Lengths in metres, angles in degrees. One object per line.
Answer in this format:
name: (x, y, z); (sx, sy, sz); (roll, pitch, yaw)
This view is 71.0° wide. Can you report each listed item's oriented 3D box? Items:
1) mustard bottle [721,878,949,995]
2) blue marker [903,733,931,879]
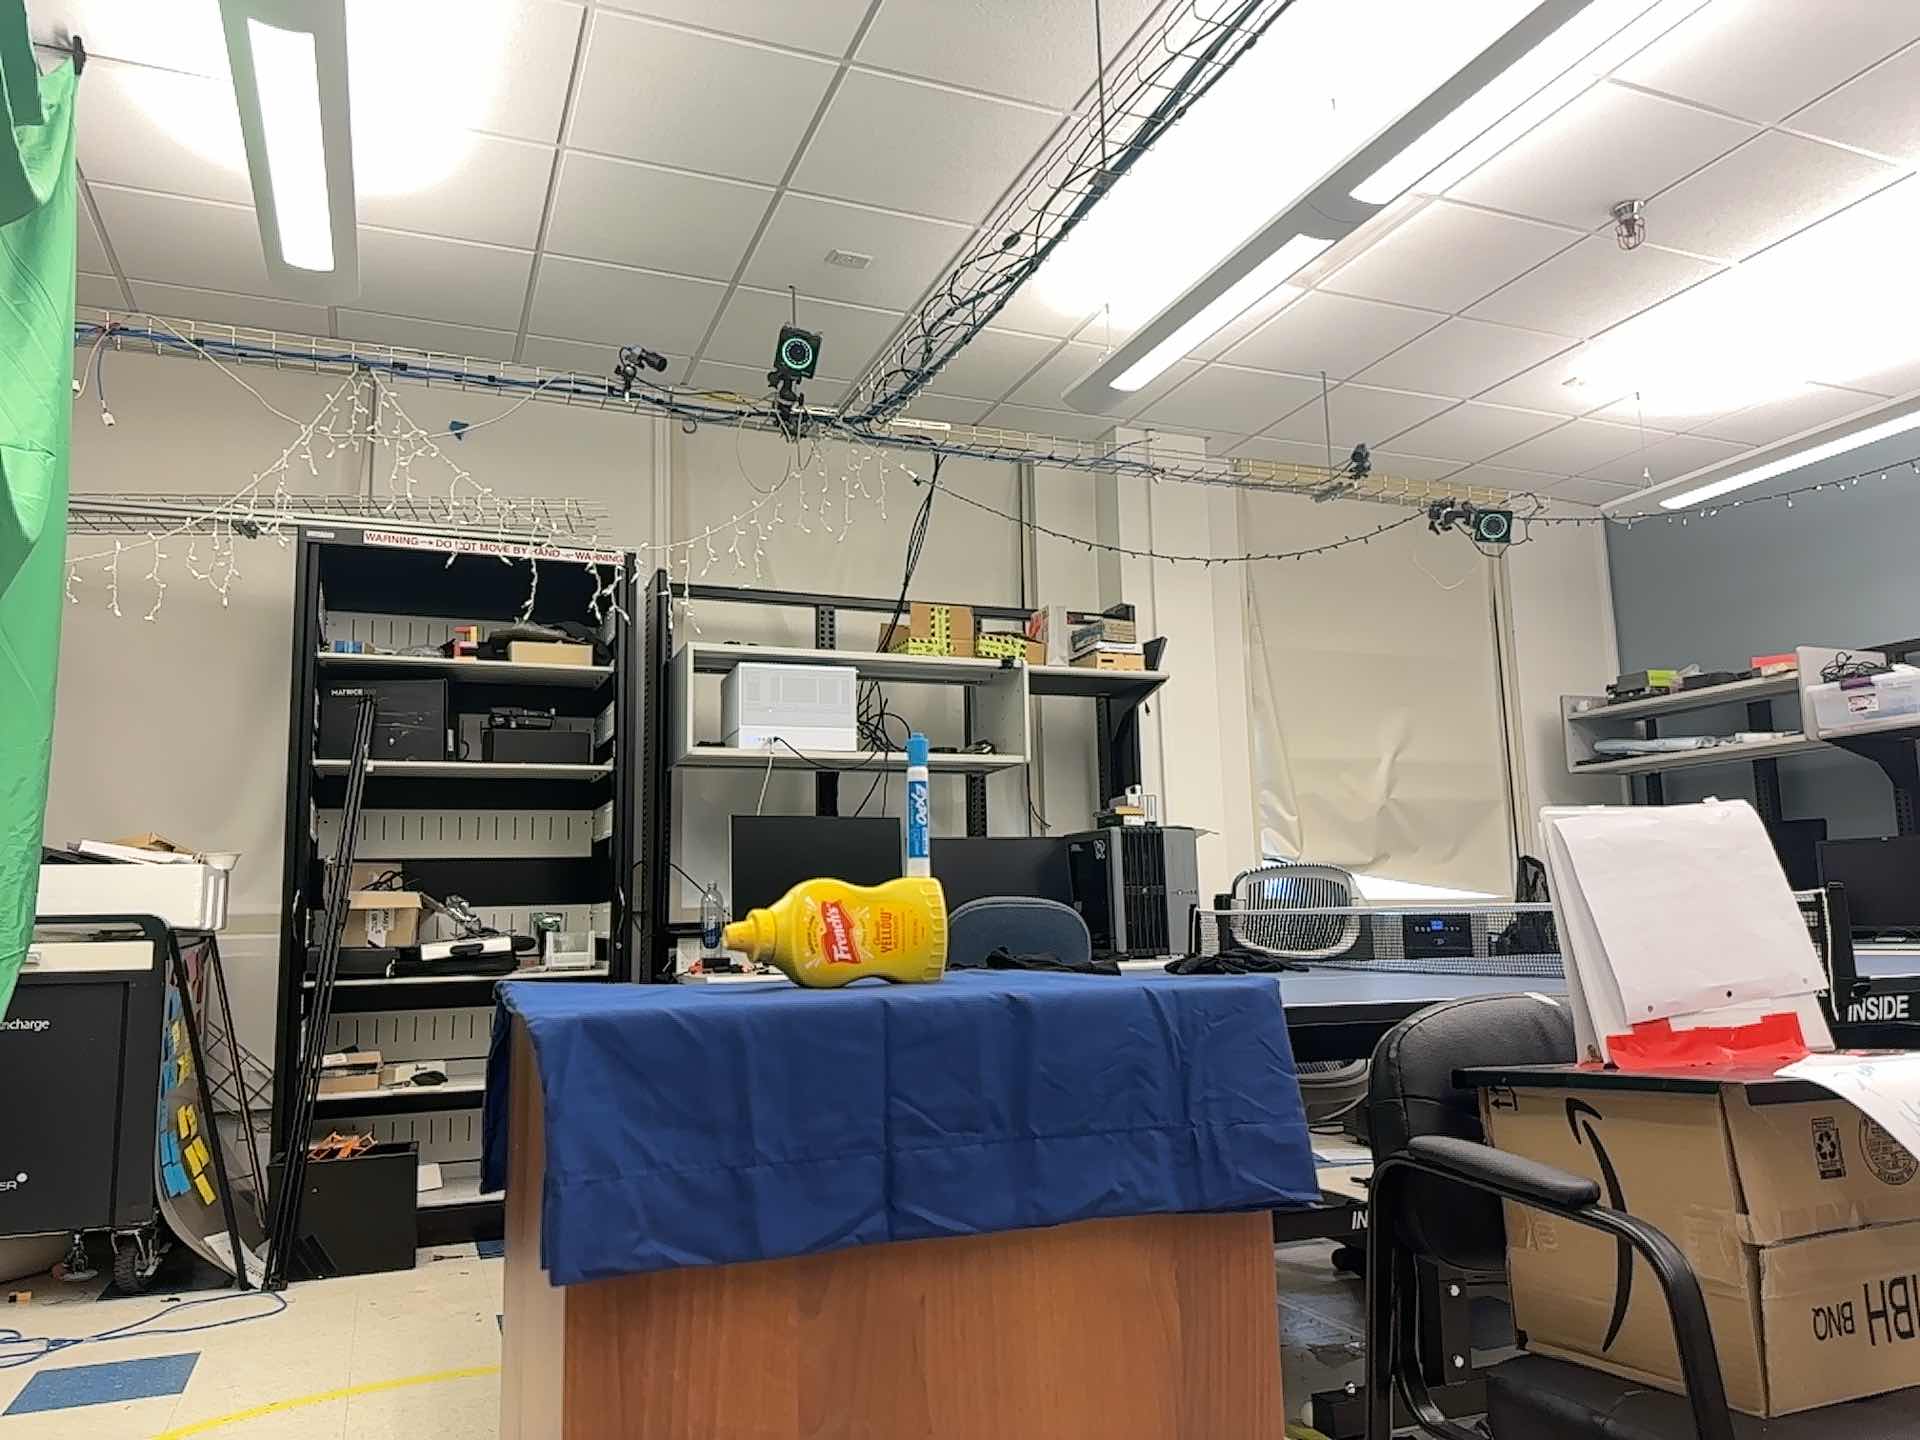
mustard bottle: (-0.101, 0.173, 1.071); (0.184, 0.092, 0.054); (3, -2, -28)
blue marker: (-0.037, 0.071, 1.120); (0.020, 0.121, 0.020); (-2, -10, 0)
